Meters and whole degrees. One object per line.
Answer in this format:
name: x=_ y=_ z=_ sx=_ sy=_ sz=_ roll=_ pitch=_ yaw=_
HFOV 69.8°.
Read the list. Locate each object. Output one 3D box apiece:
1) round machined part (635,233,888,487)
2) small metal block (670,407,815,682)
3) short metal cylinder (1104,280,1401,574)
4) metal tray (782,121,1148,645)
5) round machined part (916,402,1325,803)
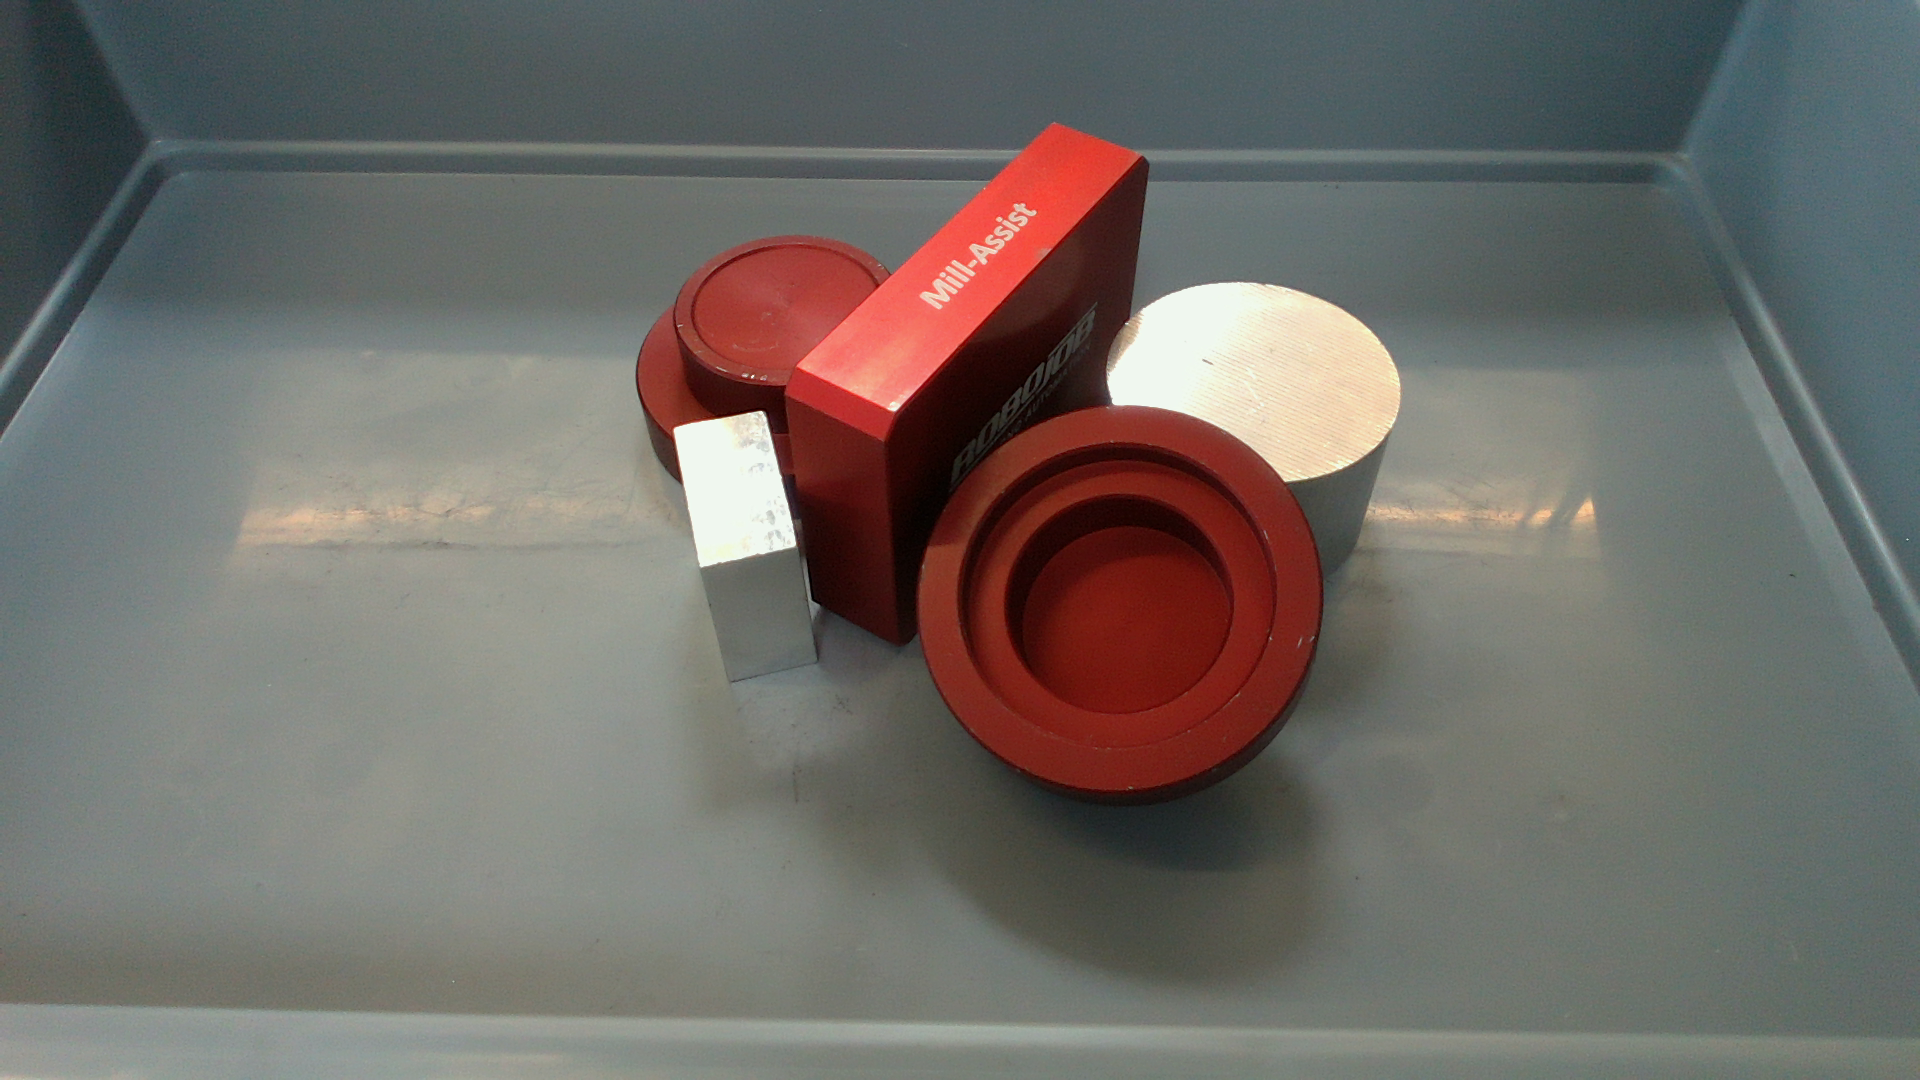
round machined part: x=-0.052 y=-0.058 z=0.426 sx=0.098 sy=0.042 sz=0.098 roll=0 pitch=50 yaw=0
small metal block: x=-0.059 y=0.001 z=0.372 sx=0.025 sy=0.050 sz=0.050 roll=-12 pitch=51 yaw=-9
short metal cylinder: x=0.081 y=-0.030 z=0.398 sx=0.080 sy=0.050 sz=0.080 roll=0 pitch=50 yaw=0
metal tray: x=0.005 y=-0.045 z=0.385 sx=0.030 sy=0.090 sz=0.130 roll=26 pitch=55 yaw=21
round machined part: x=0.041 y=0.018 z=0.348 sx=0.098 sy=0.042 sz=0.098 roll=-3 pitch=71 yaw=10
